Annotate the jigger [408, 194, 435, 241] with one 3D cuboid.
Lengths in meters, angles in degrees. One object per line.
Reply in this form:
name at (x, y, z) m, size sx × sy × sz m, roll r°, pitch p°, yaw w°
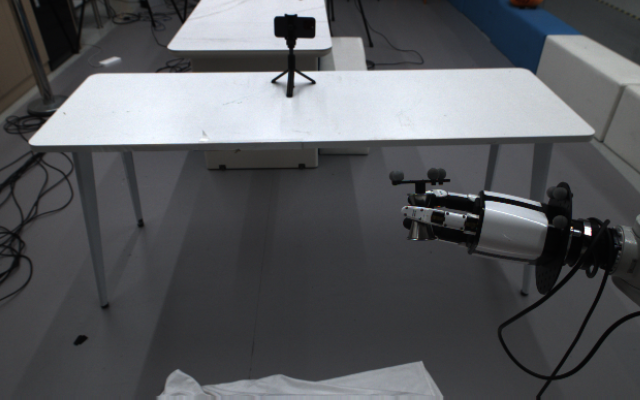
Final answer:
jigger at (0.148, 0.022, 0.716) m, size 0.043 × 0.071 × 0.043 m, roll -2°, pitch 3°, yaw 0°
